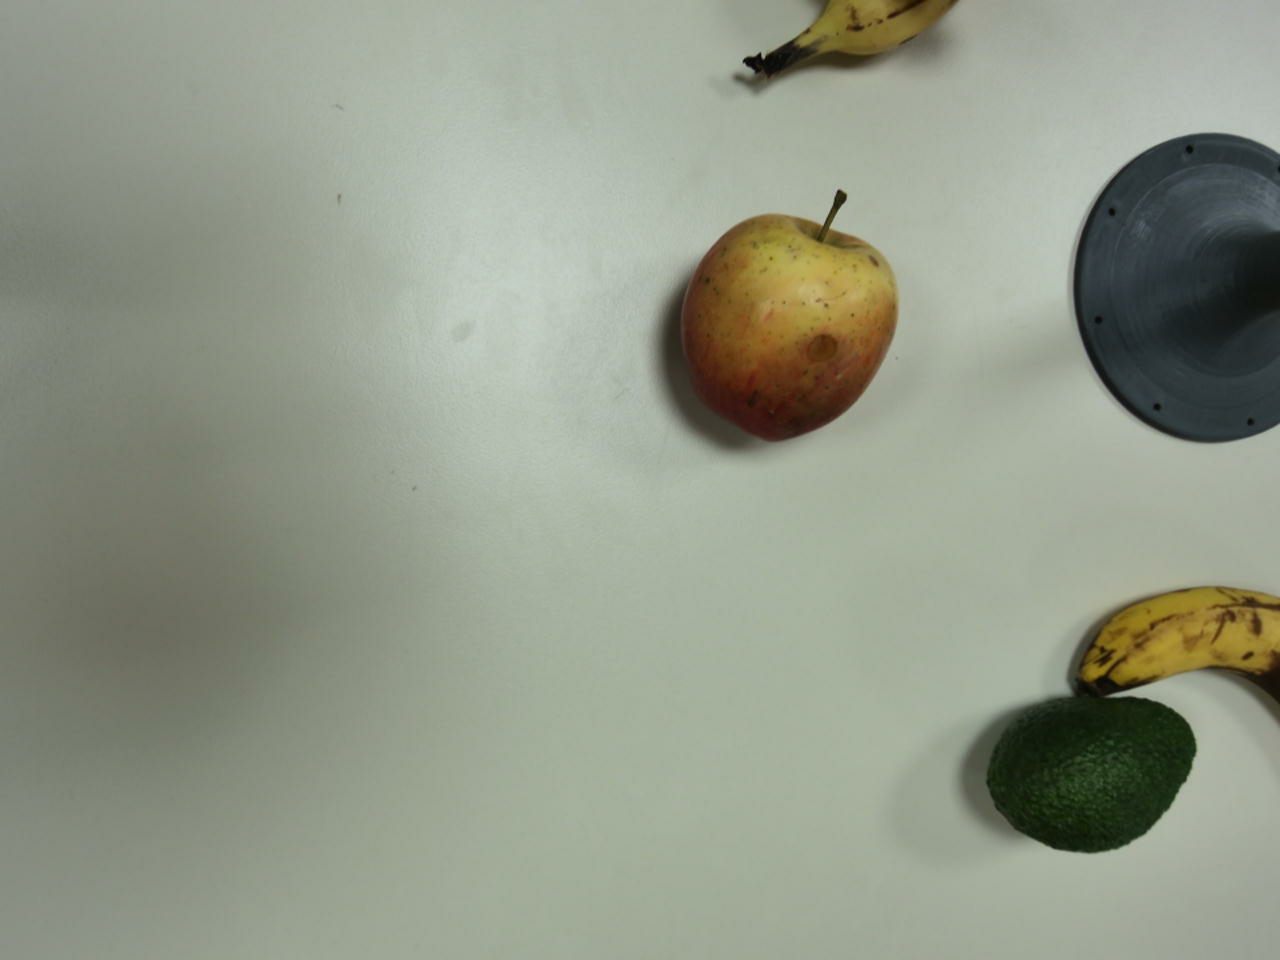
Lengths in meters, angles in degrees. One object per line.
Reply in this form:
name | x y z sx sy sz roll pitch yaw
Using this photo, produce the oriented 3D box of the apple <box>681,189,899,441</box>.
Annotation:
apple | 0.060 -0.065 0.406 0.086 0.084 0.093 44 82 -9
